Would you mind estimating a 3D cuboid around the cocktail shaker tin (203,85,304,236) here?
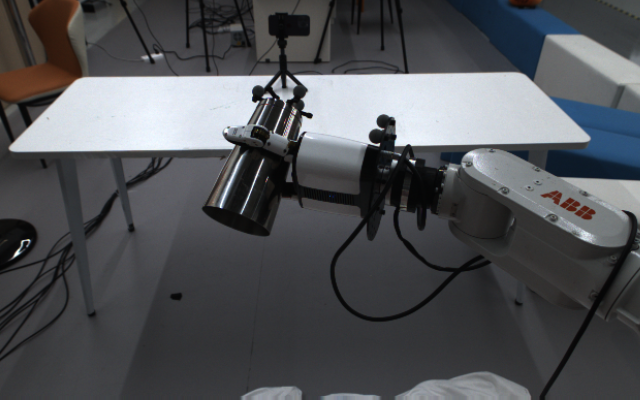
[{"bbox_3d":[-0.082,-0.048,0.646,0.093,0.093,0.170,13,70,15],"label":"cocktail shaker tin"}]
